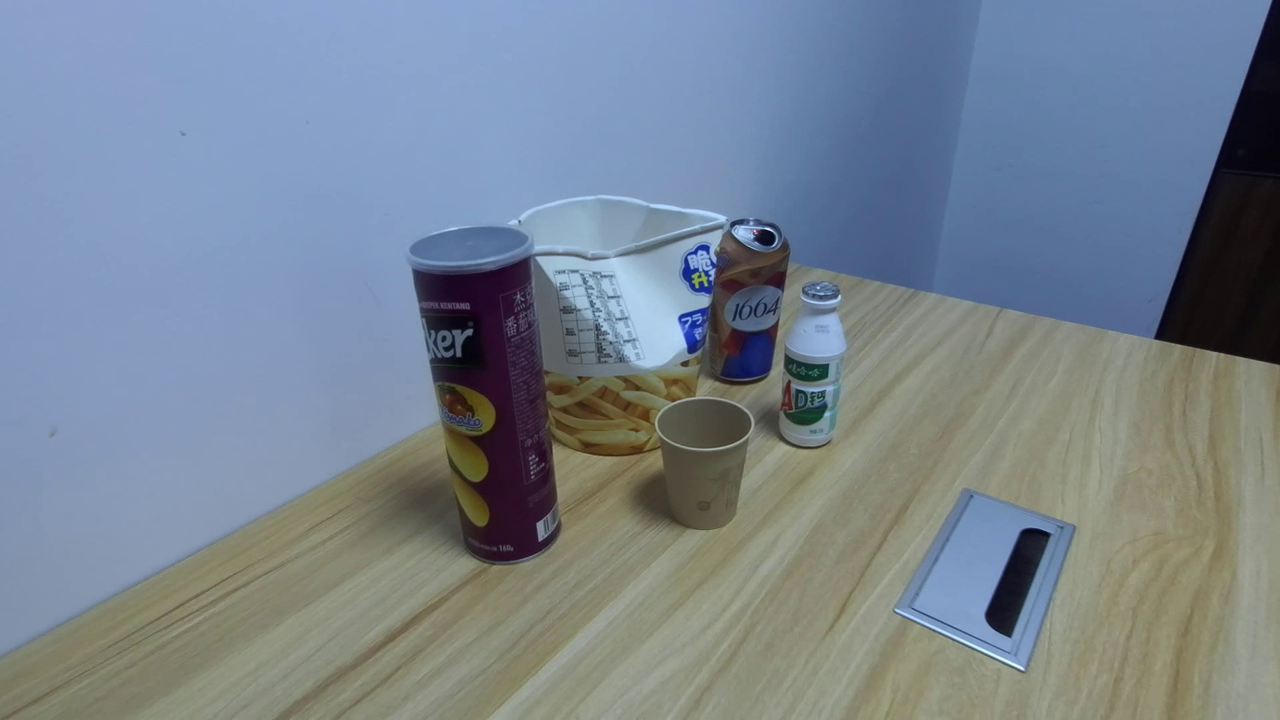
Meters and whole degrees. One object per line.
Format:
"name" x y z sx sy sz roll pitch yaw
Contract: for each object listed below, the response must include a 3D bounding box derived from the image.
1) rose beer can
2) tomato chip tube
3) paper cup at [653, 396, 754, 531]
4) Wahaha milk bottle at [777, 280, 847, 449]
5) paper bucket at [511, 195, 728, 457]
"rose beer can" 0.109 -0.058 0.727 0.069 0.168 0.069 11 32 17
"tomato chip tube" -0.102 0.031 0.499 0.078 0.234 0.078 -2 27 1
"paper cup" 0.050 0.083 0.549 0.075 0.082 0.075 -1 27 1
"Wahaha milk bottle" 0.153 0.005 0.622 0.053 0.147 0.053 -2 28 1
"paper bucket" -0.030 -0.028 0.646 0.168 0.202 0.163 15 33 35
